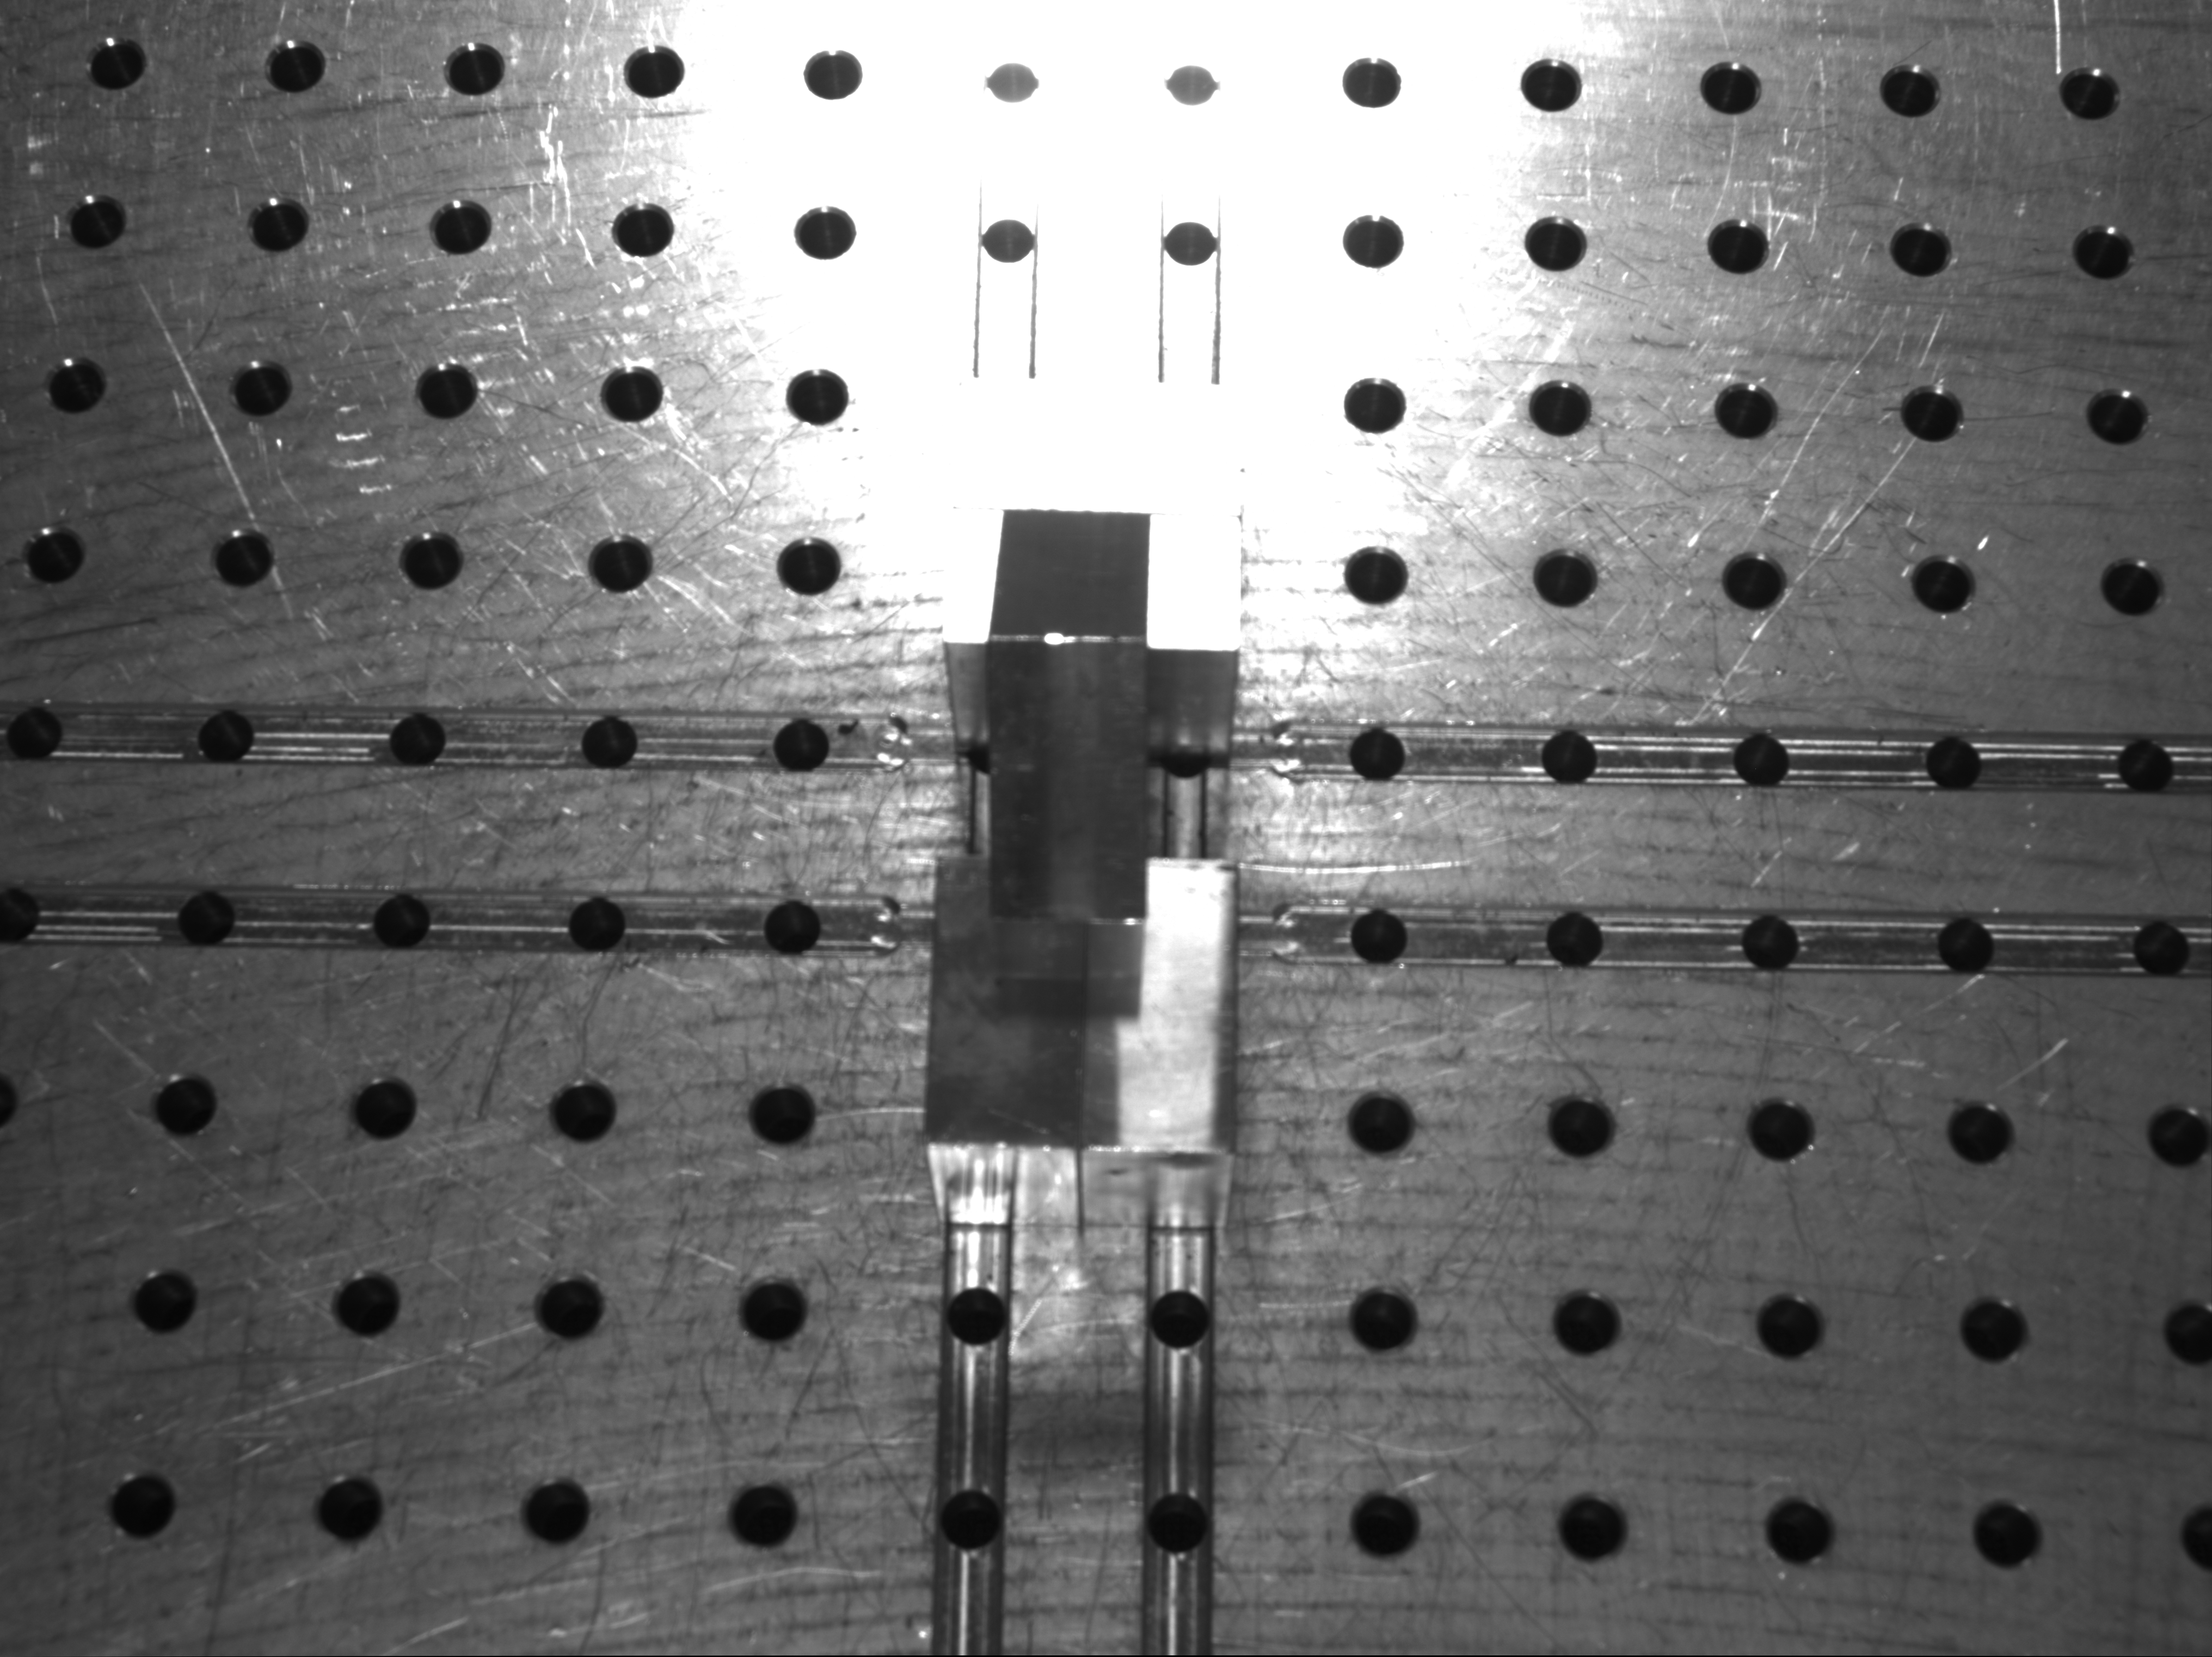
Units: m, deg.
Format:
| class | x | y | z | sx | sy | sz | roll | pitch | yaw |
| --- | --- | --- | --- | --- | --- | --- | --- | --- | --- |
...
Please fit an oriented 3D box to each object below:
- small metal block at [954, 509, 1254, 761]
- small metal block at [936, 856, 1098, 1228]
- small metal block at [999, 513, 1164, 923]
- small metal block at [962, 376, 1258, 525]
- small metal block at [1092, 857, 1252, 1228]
| class | x | y | z | sx | sy | sz | roll | pitch | yaw |
| --- | --- | --- | --- | --- | --- | --- | --- | --- | --- |
| small metal block | 0.000 | -0.033 | 0.646 | 0.050 | 0.050 | 0.025 | 2 | 70 | 1 |
| small metal block | -0.014 | 0.037 | 0.620 | 0.025 | 0.050 | 0.050 | 1 | 70 | 1 |
| small metal block | -0.003 | -0.019 | 0.597 | 0.025 | 0.050 | 0.050 | 0 | 27 | 1 |
| small metal block | 0.001 | -0.057 | 0.654 | 0.050 | 0.050 | 0.025 | 2 | 70 | 1 |
| small metal block | 0.011 | 0.037 | 0.619 | 0.025 | 0.050 | 0.050 | 1 | 70 | 1 |
